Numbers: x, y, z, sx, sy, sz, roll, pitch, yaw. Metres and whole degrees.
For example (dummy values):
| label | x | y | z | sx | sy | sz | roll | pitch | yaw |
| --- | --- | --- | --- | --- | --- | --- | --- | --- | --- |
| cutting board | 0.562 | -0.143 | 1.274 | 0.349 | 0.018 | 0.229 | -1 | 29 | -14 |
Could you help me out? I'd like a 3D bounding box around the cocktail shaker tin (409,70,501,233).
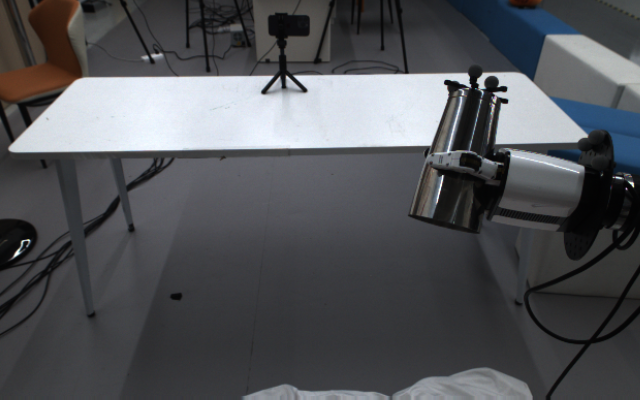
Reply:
| label | x | y | z | sx | sy | sz | roll | pitch | yaw |
| --- | --- | --- | --- | --- | --- | --- | --- | --- | --- |
| cocktail shaker tin | 0.179 | -0.051 | 0.621 | 0.093 | 0.170 | 0.093 | 16 | -4 | 1 |
